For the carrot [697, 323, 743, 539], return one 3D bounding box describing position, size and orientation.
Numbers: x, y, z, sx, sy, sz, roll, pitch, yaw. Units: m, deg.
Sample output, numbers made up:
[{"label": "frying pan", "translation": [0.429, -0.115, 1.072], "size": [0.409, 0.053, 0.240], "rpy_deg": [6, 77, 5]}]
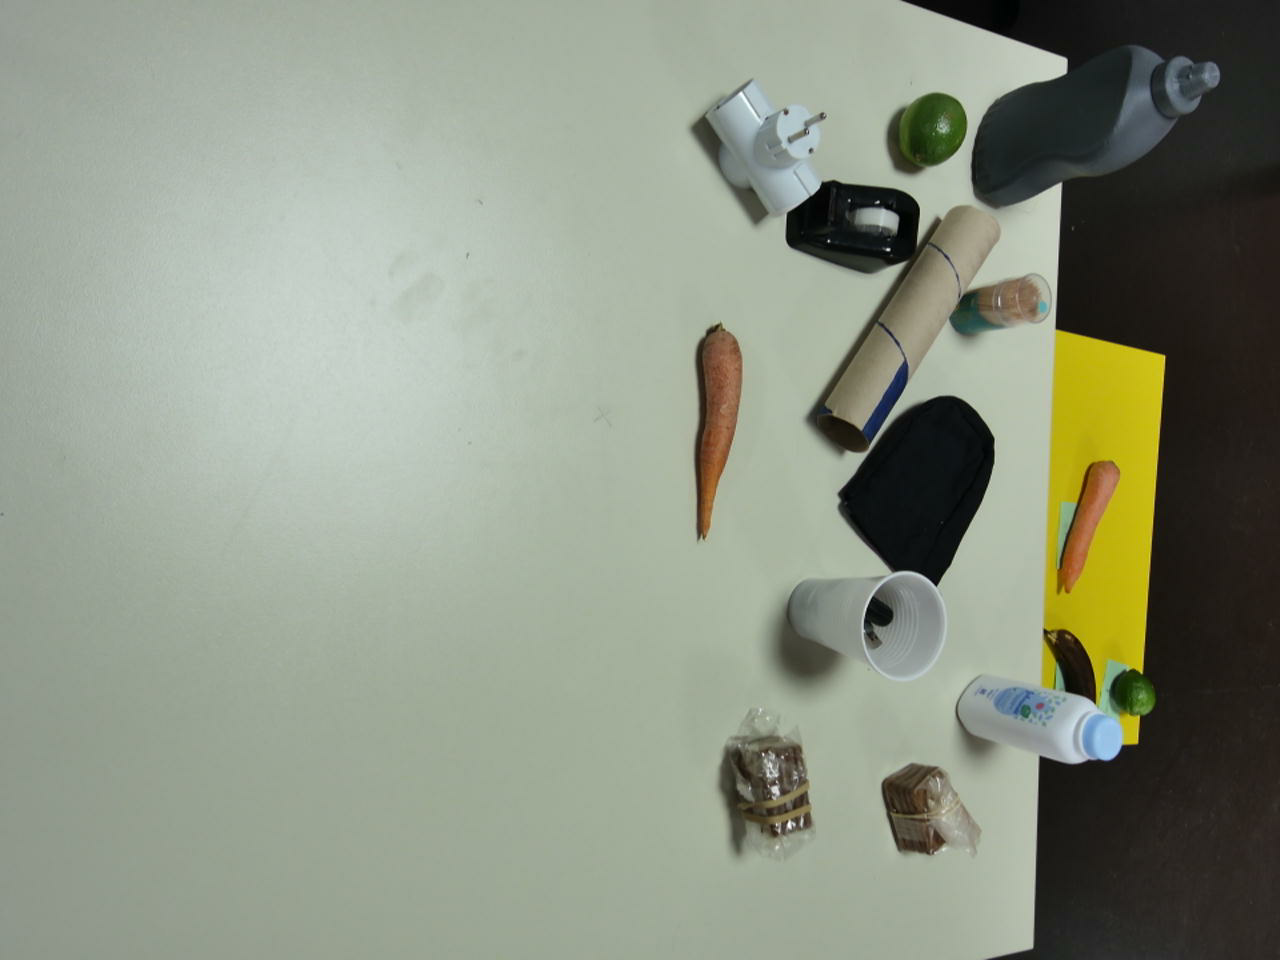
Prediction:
[{"label": "carrot", "translation": [0.058, -0.036, 0.744], "size": [0.031, 0.029, 0.163], "rpy_deg": [4, 89, -28]}]
